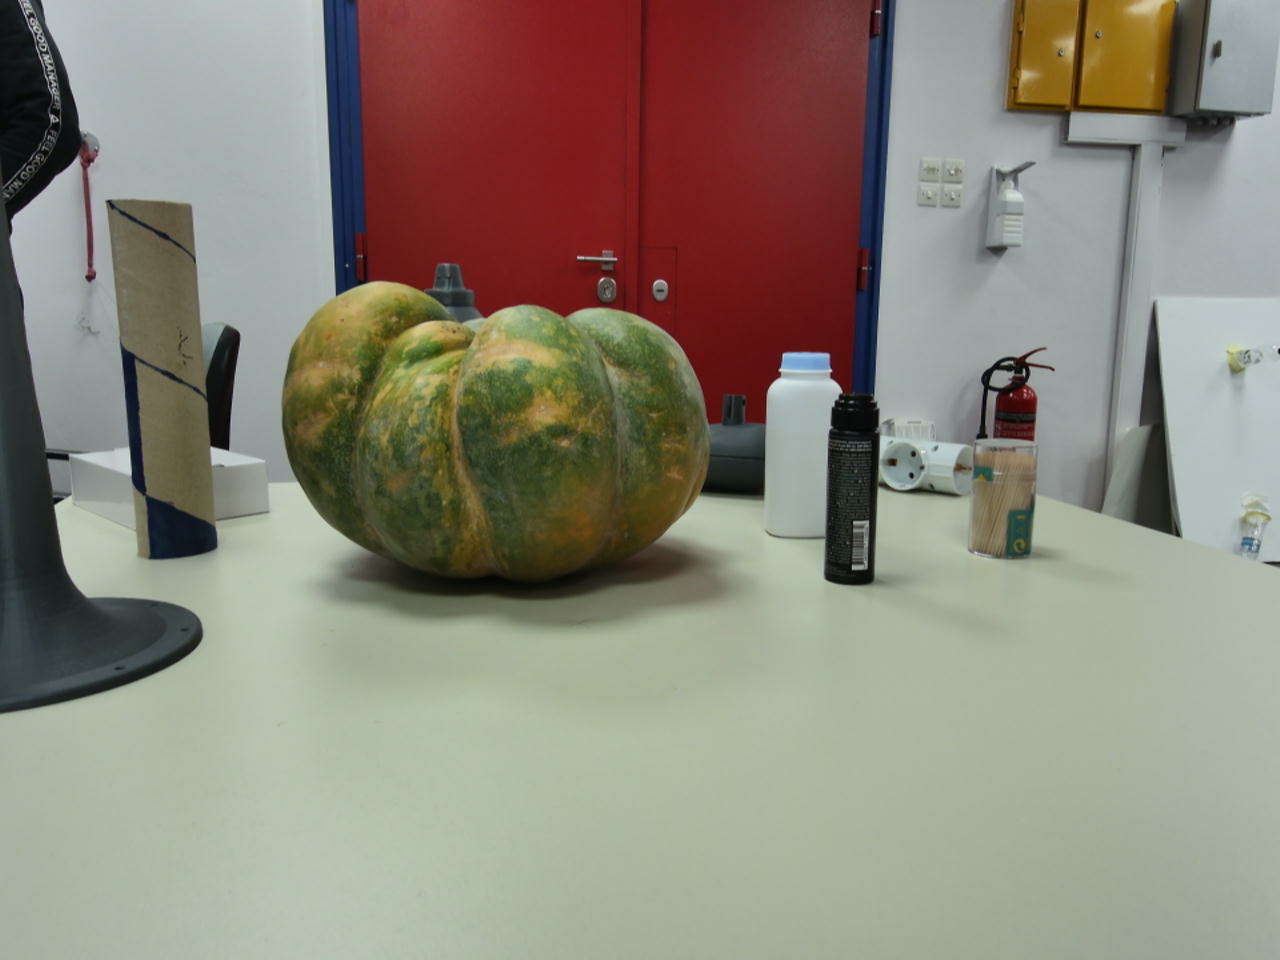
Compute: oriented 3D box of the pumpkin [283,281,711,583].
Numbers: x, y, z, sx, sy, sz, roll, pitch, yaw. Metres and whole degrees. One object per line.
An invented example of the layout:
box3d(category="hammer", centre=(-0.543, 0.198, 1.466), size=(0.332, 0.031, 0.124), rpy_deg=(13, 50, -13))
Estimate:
box3d(category="pumpkin", centre=(-0.085, -0.031, 0.618), size=(0.270, 0.173, 0.237), rpy_deg=(4, 9, 24))
